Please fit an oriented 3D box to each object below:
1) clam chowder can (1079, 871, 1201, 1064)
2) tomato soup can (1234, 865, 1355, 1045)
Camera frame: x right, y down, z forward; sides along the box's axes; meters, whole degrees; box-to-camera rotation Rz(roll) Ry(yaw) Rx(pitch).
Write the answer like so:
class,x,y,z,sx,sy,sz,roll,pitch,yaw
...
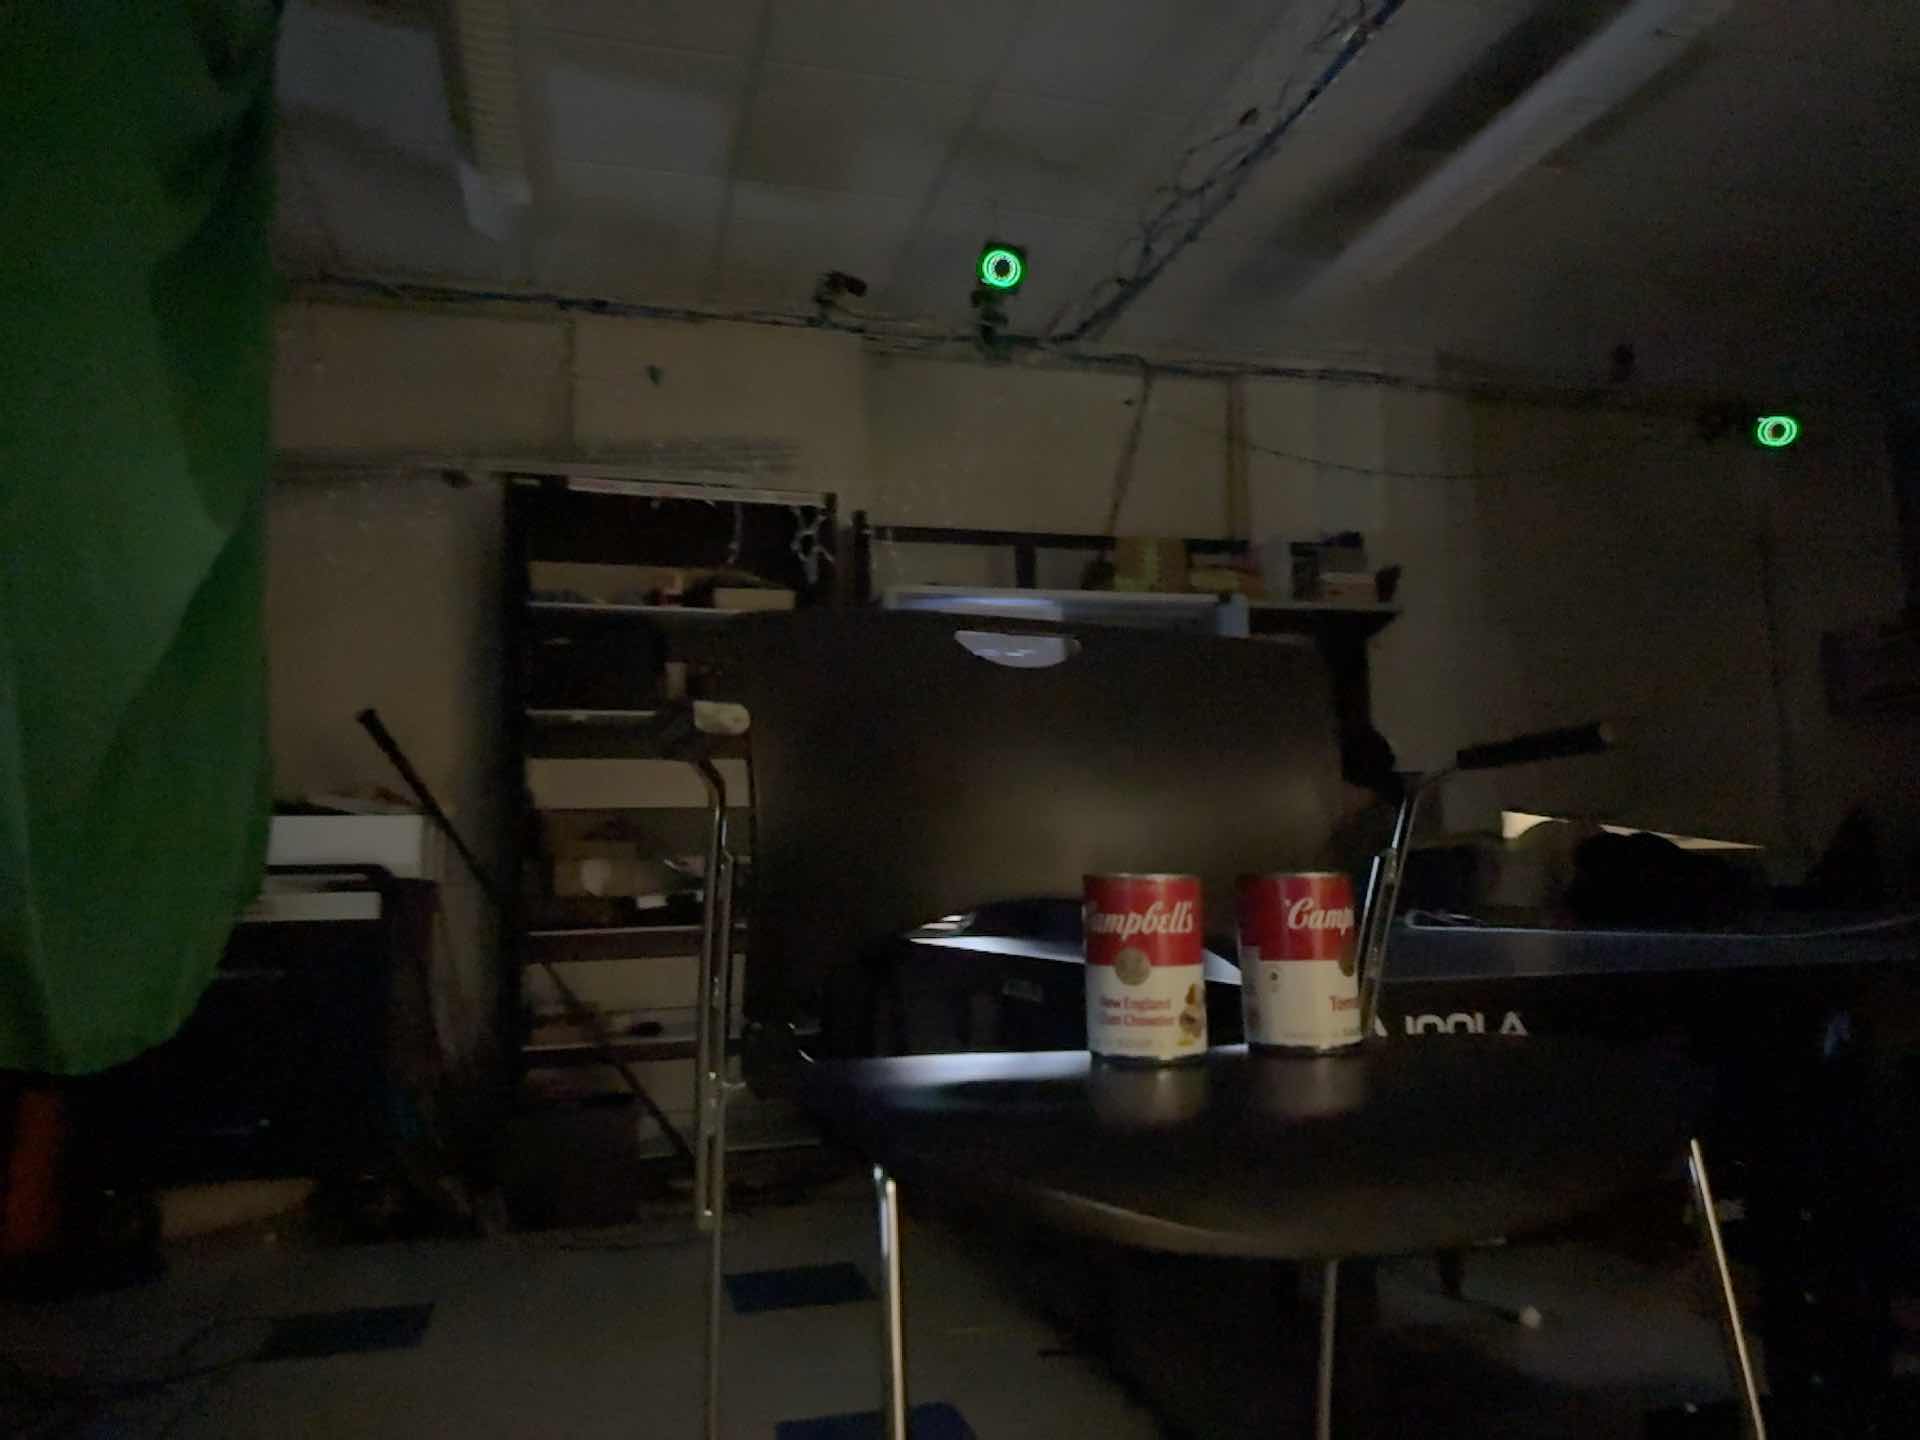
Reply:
class,x,y,z,sx,sy,sz,roll,pitch,yaw
clam chowder can,0.100,0.136,0.754,0.068,0.102,0.068,1,-6,0
tomato soup can,0.195,0.136,0.790,0.067,0.102,0.067,1,-7,0
